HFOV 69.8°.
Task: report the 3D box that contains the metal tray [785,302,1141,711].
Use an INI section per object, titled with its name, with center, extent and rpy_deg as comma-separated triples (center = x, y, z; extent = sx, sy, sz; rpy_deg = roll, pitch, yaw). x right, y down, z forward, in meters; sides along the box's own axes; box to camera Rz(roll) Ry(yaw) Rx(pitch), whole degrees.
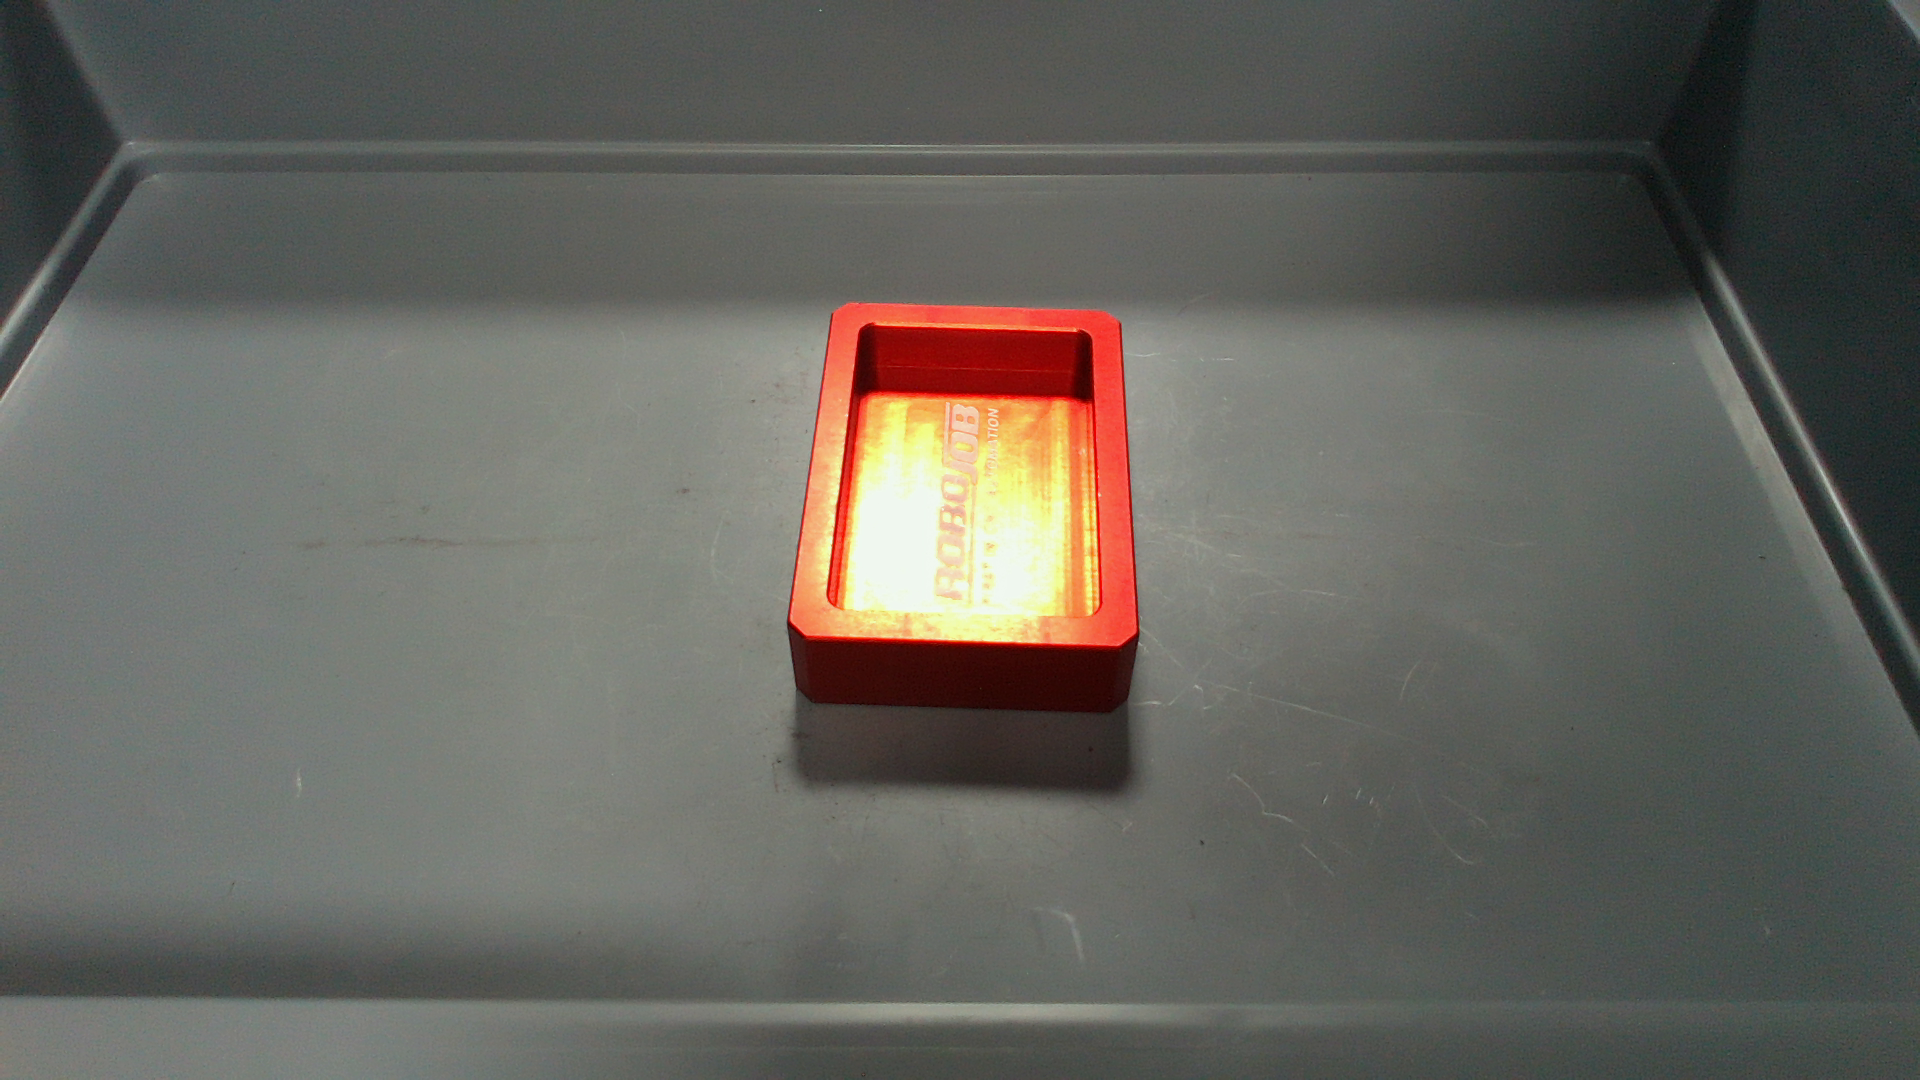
[metal tray]
center = 0.003, -0.014, 0.397
extent = 0.090, 0.030, 0.130
rpy_deg = 2, 50, 1
